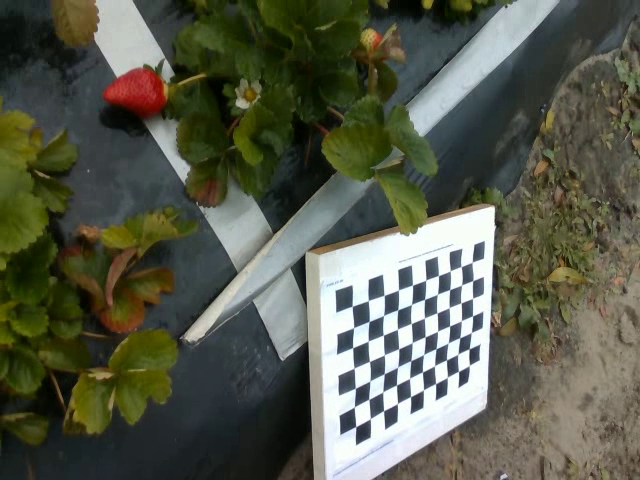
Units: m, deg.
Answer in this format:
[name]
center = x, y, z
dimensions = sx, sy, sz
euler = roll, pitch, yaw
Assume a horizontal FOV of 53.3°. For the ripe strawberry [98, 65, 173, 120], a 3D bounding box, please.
[ripe strawberry]
center = -0.142, -0.111, 0.480
dimensions = 0.051, 0.041, 0.038
euler = -20, 27, -39
